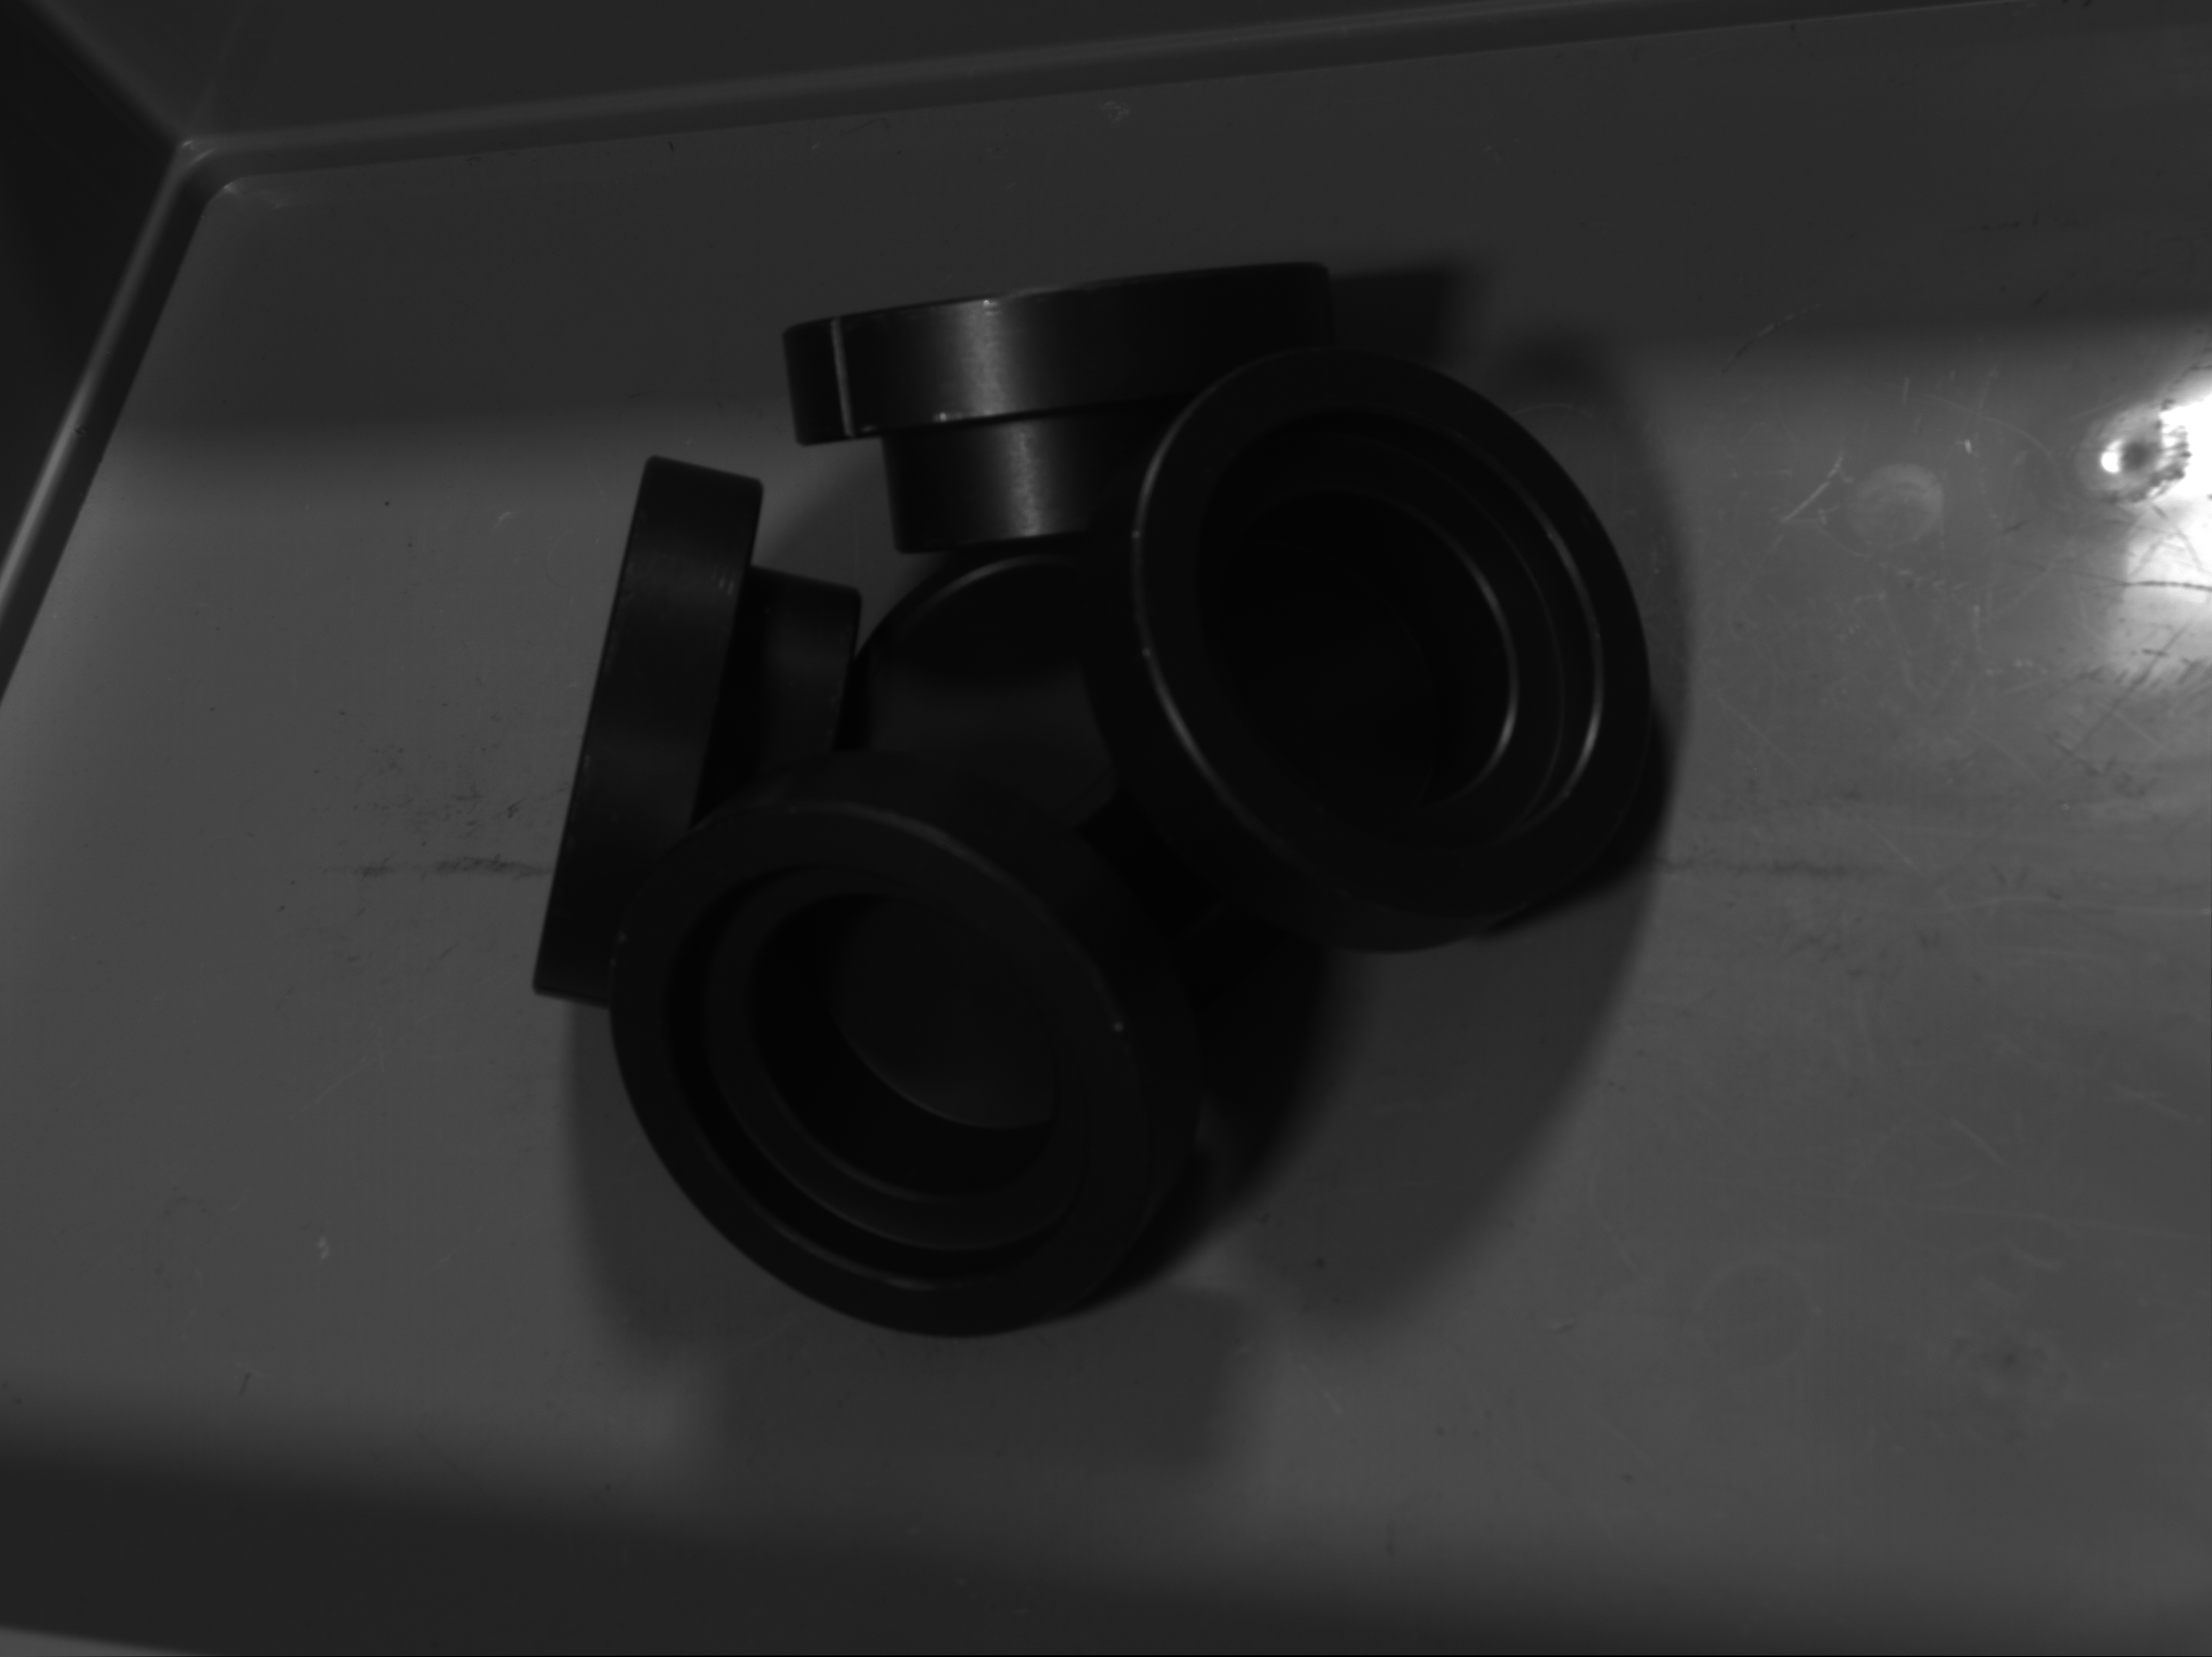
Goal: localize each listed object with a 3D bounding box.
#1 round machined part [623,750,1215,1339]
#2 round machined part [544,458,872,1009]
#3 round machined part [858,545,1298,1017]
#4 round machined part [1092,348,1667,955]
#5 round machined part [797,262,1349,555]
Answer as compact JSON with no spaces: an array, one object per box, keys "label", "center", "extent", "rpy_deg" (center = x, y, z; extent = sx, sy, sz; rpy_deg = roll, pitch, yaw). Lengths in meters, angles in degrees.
[{"label":"round machined part","center":[-0.027,0.031,0.602],"extent":[0.098,0.098,0.042],"rpy_deg":[-1,25,28]},{"label":"round machined part","center":[-0.069,-0.014,0.654],"extent":[0.042,0.098,0.098],"rpy_deg":[12,62,-7]},{"label":"round machined part","center":[-0.007,-0.013,0.642],"extent":[0.098,0.042,0.098],"rpy_deg":[-13,56,21]},{"label":"round machined part","center":[0.041,-0.026,0.603],"extent":[0.042,0.098,0.098],"rpy_deg":[-33,39,55]},{"label":"round machined part","center":[-0.004,-0.074,0.655],"extent":[0.098,0.098,0.042],"rpy_deg":[-4,97,27]}]
